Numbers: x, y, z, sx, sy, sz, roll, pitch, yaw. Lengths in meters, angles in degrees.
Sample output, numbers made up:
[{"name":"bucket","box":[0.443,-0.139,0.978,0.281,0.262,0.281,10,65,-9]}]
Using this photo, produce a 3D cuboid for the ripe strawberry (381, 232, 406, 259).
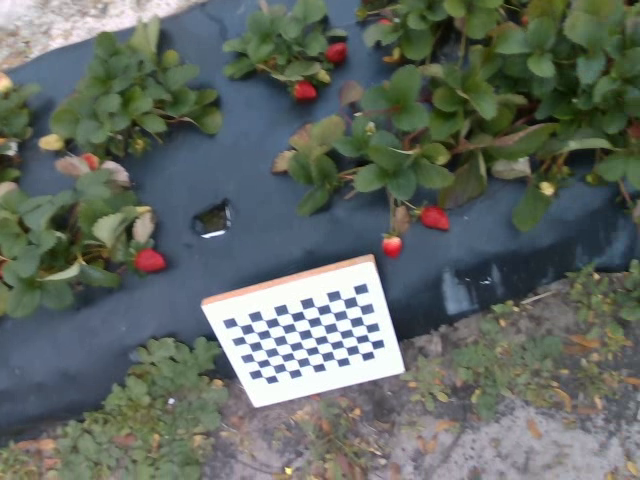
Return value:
[{"name":"ripe strawberry","box":[0.115,0.012,0.957,0.036,0.041,0.028,-9,20,15]}]

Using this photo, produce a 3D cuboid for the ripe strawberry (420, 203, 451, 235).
[{"name":"ripe strawberry","box":[0.179,-0.034,0.943,0.059,0.044,0.042,35,41,-2]}]

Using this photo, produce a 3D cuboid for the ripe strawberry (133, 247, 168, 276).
[{"name":"ripe strawberry","box":[-0.300,0.031,1.008,0.064,0.046,0.049,15,51,26]}]
